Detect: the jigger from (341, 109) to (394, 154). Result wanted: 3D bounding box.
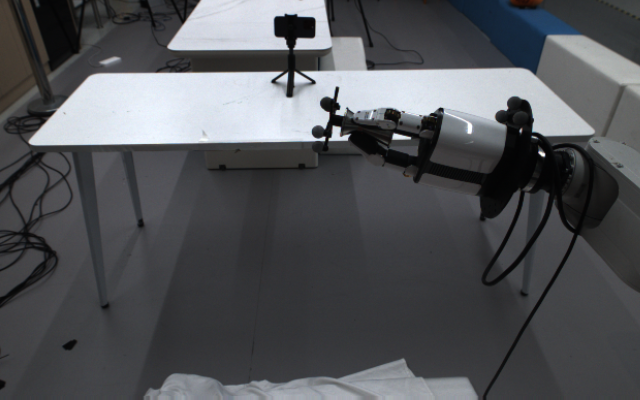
[{"bbox_3d":[0.071,-0.101,0.652,0.071,0.043,0.043,13,36,4],"label":"jigger"}]
